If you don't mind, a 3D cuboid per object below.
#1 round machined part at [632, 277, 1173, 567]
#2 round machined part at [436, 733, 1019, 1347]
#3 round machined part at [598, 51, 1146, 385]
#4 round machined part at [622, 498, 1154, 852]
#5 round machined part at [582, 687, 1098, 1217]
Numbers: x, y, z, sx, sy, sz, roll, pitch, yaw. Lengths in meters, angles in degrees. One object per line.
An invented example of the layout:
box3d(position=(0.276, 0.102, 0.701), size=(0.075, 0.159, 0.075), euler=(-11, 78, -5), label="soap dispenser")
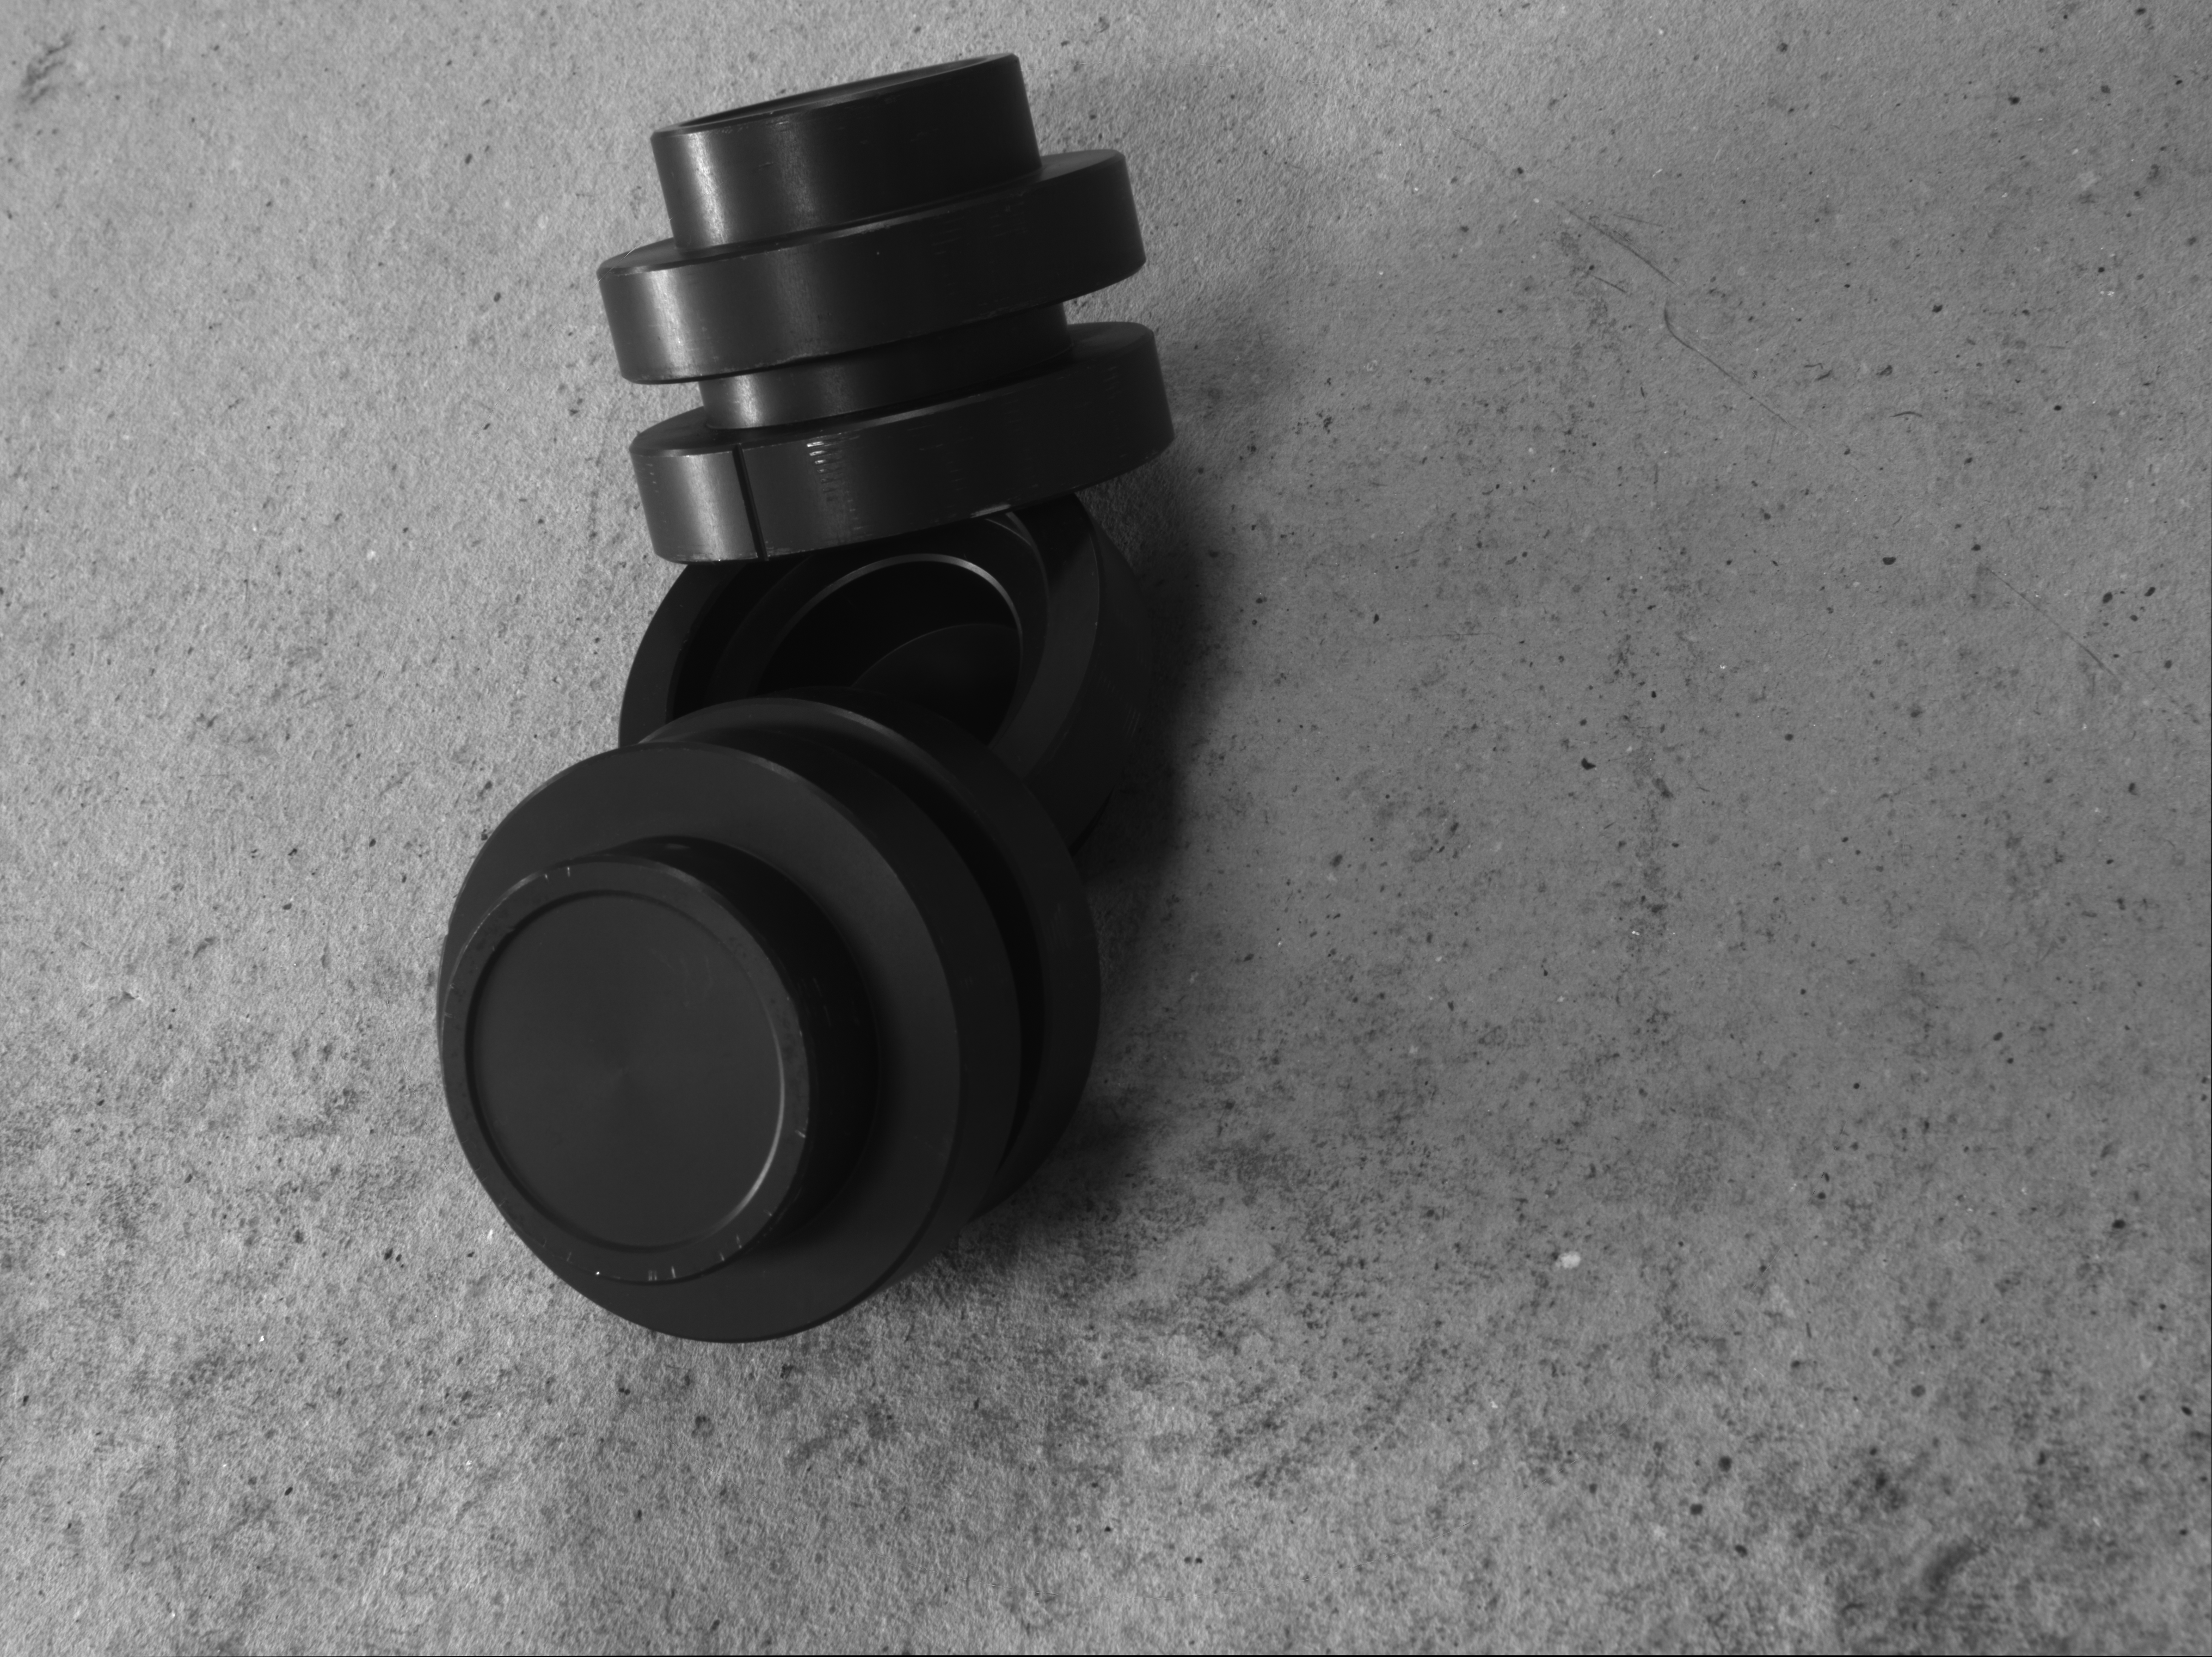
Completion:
box3d(position=(-0.040, -0.081, 0.670), size=(0.098, 0.042, 0.098), euler=(-12, 14, 3), label="round machined part")
box3d(position=(-0.067, 0.035, 0.586), size=(0.098, 0.042, 0.098), euler=(3, 99, 24), label="round machined part")
box3d(position=(-0.045, -0.113, 0.666), size=(0.098, 0.042, 0.098), euler=(-12, 14, 3), label="round machined part")
box3d(position=(-0.035, -0.020, 0.666), size=(0.098, 0.042, 0.098), euler=(-13, 56, 21), label="round machined part")
box3d(position=(-0.054, 0.027, 0.614), size=(0.098, 0.042, 0.098), euler=(4, 100, 24), label="round machined part")
